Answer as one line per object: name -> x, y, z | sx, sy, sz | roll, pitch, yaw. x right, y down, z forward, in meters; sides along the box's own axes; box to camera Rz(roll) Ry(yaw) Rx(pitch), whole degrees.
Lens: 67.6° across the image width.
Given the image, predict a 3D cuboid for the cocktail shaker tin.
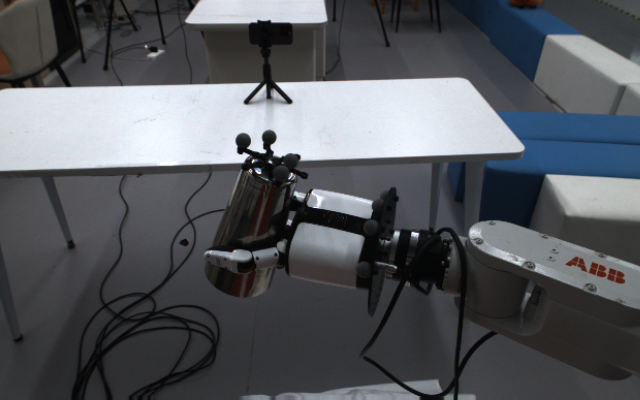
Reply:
cocktail shaker tin -> -0.082, 0.028, 0.607 | 0.093, 0.170, 0.093 | 16, 31, -10
